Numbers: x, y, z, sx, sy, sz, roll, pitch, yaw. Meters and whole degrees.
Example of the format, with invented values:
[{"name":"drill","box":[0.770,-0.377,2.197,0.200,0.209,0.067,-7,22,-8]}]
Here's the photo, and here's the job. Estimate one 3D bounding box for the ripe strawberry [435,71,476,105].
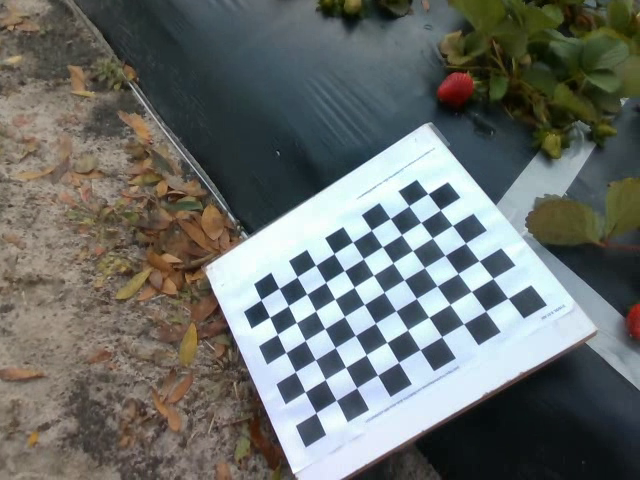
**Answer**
[{"name":"ripe strawberry","box":[0.137,-0.158,0.746,0.046,0.040,0.036,-8,30,-35]}]
